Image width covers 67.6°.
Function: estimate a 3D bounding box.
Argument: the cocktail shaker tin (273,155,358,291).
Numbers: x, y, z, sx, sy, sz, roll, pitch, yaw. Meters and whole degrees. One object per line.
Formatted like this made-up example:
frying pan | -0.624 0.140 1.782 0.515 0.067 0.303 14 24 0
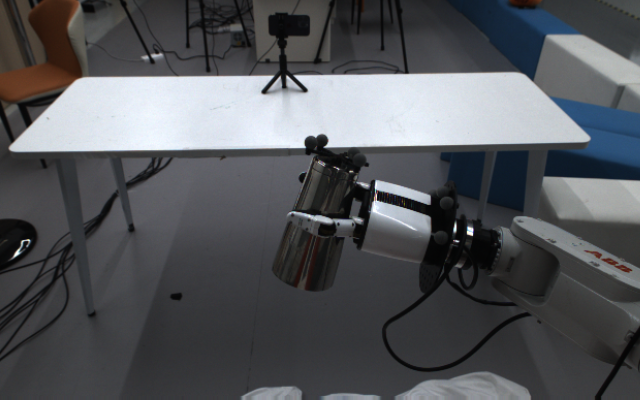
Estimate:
cocktail shaker tin | -0.002 0.028 0.668 0.093 0.170 0.093 15 17 -5
